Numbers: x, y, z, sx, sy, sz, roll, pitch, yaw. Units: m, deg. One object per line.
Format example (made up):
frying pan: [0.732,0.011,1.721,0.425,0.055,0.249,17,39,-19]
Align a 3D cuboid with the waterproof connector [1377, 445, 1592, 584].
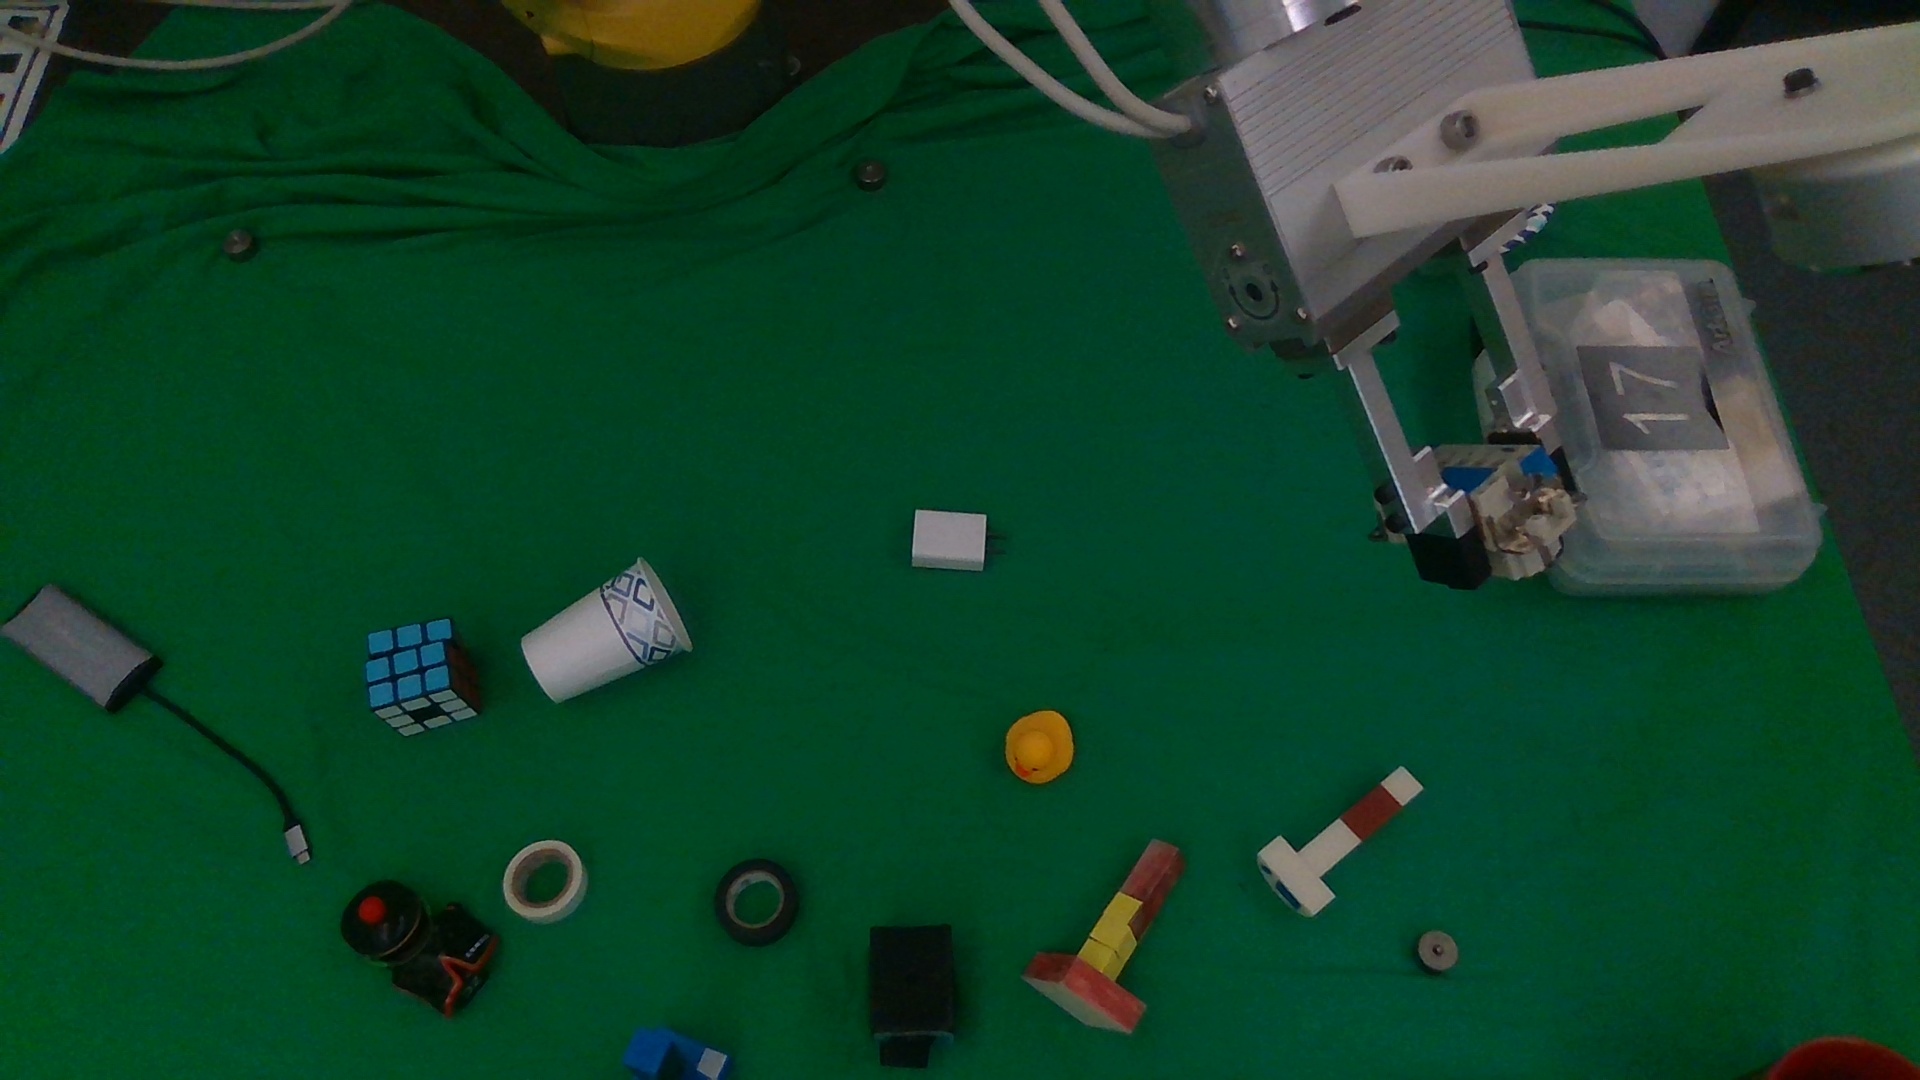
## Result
waterproof connector: [0.170,-0.007,0.453,0.035,0.065,0.037,-39,110,-24]

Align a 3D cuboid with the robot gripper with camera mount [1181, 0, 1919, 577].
robot gripper with camera mount: [0.190,-0.068,0.363,0.118,0.194,0.158,-35,110,-29]
